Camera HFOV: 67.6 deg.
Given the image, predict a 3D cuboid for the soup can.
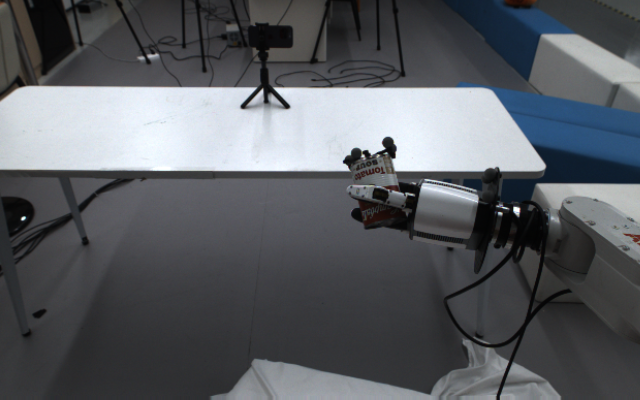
[{"bbox_3d":[0.090,-0.012,0.745,0.067,0.067,0.101,-10,80,-16],"label":"soup can"}]
